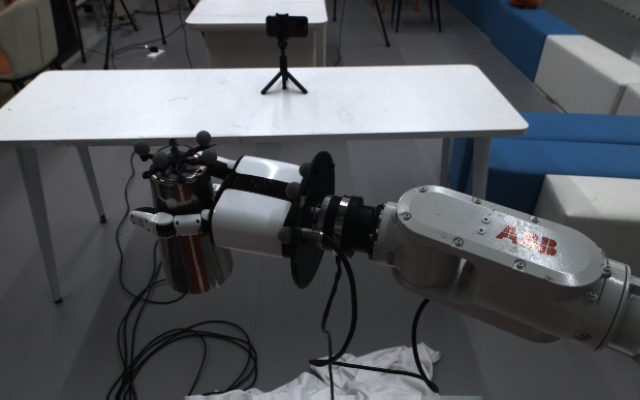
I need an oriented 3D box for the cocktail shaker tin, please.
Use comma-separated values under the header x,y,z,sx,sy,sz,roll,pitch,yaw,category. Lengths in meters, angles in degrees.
x,y,z,sx,sy,sz,roll,pitch,yaw,category
-0.160,0.025,0.609,0.093,0.170,0.093,1,39,0,cocktail shaker tin
